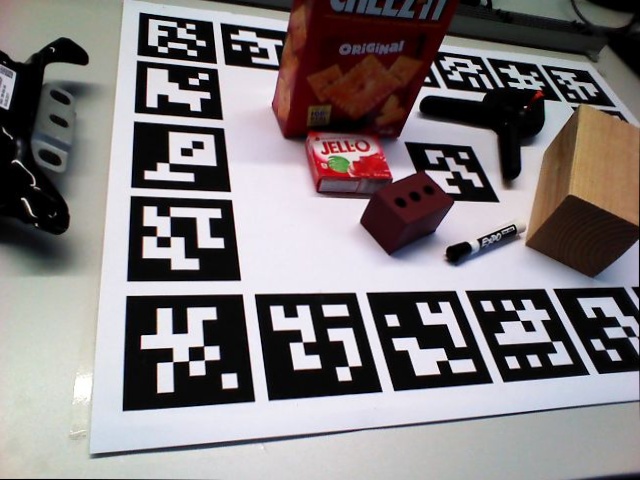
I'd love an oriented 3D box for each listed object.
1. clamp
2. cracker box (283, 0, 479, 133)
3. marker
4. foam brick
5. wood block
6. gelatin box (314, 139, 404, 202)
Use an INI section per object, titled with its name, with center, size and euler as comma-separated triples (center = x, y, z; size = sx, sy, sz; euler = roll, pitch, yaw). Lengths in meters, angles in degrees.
[clamp]
center = 0.269, -0.168, 0.720
size = 0.201, 0.037, 0.165
euler = -30, 68, -32
[cracker box]
center = 0.063, -0.219, 0.576
size = 0.164, 0.215, 0.072
euler = -2, 54, -21
[marker]
center = 0.187, 0.012, 0.572
size = 0.120, 0.020, 0.019
euler = -19, 64, -28
[foam brick]
center = 0.100, -0.022, 0.551
size = 0.077, 0.052, 0.053
euler = -24, 66, -30
[wood block]
center = 0.338, -0.060, 0.631
size = 0.090, 0.091, 0.204
euler = 26, 49, 6
[gelatin box]
center = 0.043, -0.080, 0.594
size = 0.089, 0.030, 0.073
euler = -1, 57, -18
